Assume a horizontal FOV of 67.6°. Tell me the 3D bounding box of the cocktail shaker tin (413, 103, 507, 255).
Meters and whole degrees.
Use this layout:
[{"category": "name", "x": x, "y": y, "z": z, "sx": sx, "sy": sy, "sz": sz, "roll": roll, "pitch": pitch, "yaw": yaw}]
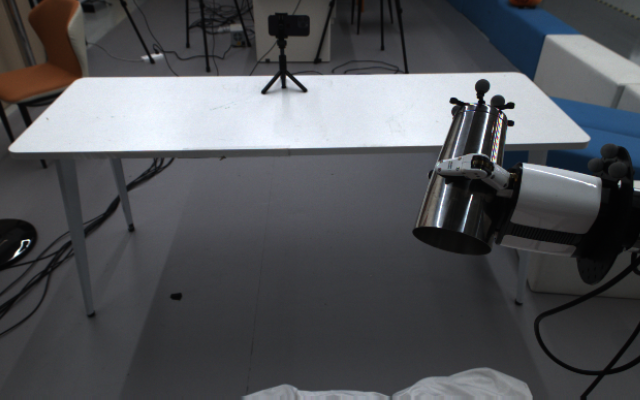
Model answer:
[{"category": "cocktail shaker tin", "x": 0.181, "y": -0.028, "z": 0.592, "sx": 0.093, "sy": 0.093, "sz": 0.170, "roll": 14, "pitch": 73, "yaw": 16}]
